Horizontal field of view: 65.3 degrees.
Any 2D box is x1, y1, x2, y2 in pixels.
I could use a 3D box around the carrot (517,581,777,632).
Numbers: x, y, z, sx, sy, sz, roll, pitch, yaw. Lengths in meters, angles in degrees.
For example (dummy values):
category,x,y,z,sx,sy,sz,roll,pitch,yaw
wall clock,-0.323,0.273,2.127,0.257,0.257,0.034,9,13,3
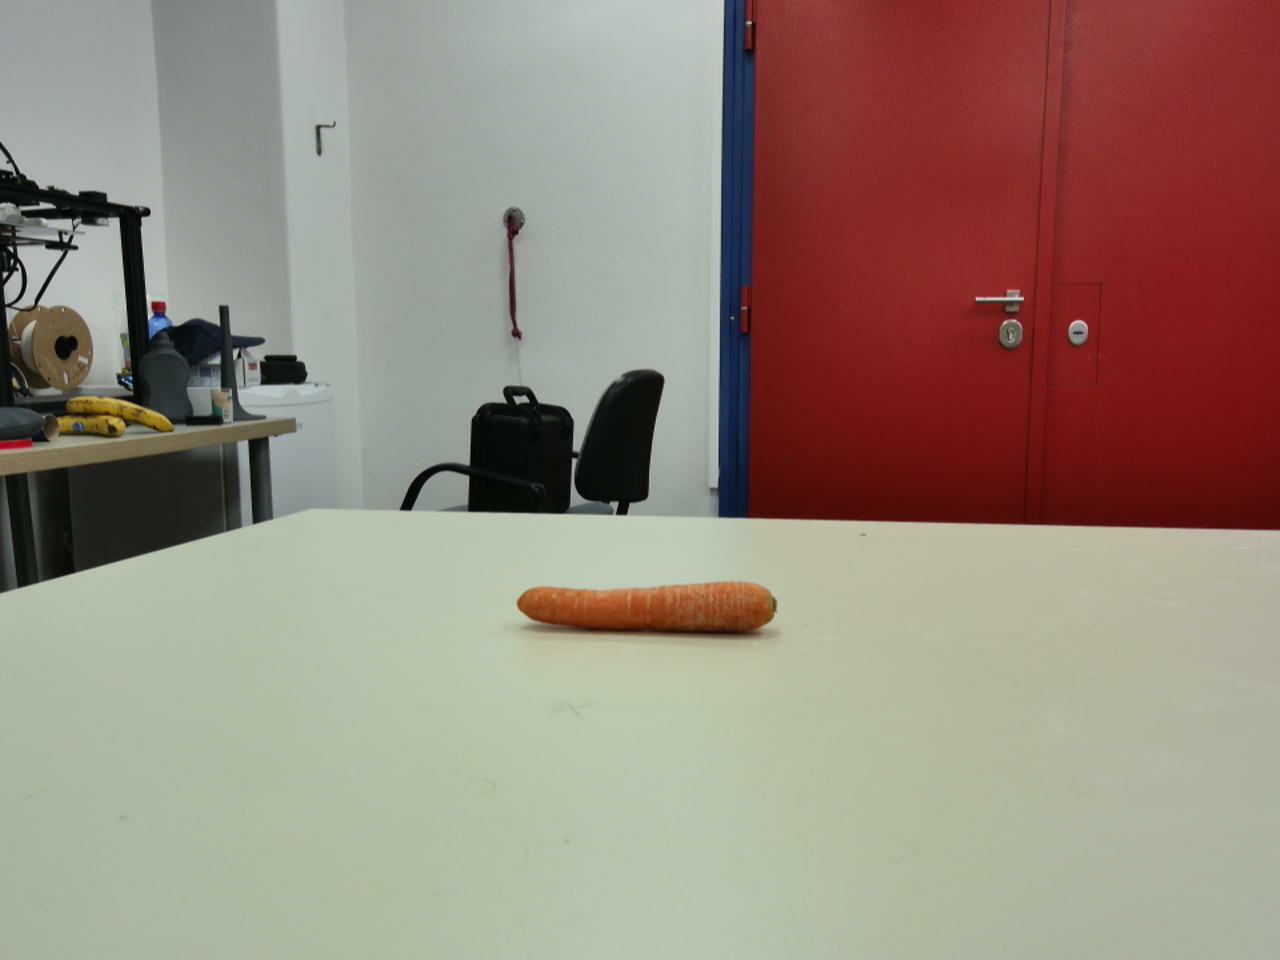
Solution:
category,x,y,z,sx,sy,sz,roll,pitch,yaw
carrot,0.002,0.059,0.469,0.122,0.023,0.024,1,4,9
